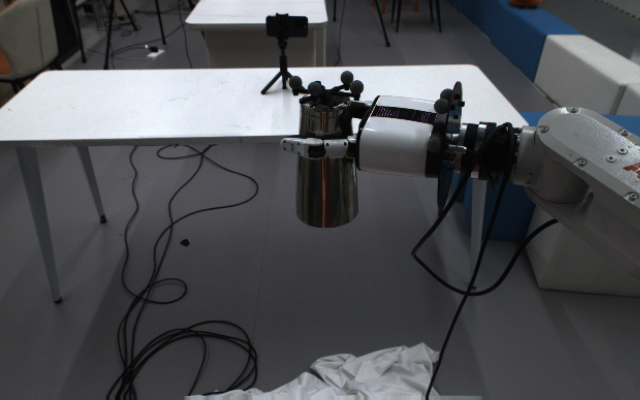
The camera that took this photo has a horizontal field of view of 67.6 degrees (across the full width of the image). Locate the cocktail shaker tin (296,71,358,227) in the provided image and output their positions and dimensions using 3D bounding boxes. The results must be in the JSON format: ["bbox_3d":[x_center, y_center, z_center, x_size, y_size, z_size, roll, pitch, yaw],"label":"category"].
[{"bbox_3d":[0.012,-0.061,0.668,0.093,0.170,0.093,-1,32,0],"label":"cocktail shaker tin"}]
